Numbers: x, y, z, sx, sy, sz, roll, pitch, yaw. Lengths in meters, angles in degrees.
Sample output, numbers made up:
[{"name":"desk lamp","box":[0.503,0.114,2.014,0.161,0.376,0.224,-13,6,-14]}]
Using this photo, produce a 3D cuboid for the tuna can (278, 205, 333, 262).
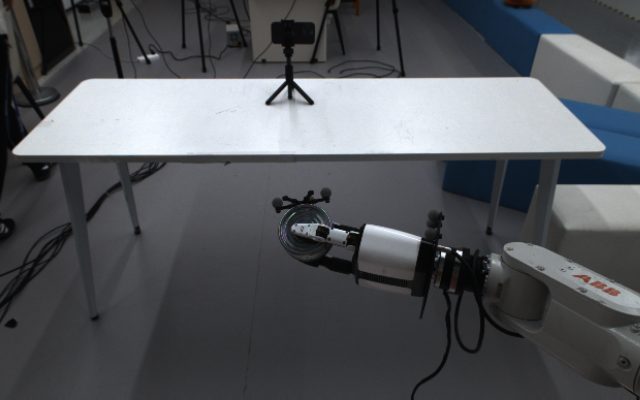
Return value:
[{"name":"tuna can","box":[-0.017,0.055,0.744,0.085,0.034,0.085,-4,68,9]}]
